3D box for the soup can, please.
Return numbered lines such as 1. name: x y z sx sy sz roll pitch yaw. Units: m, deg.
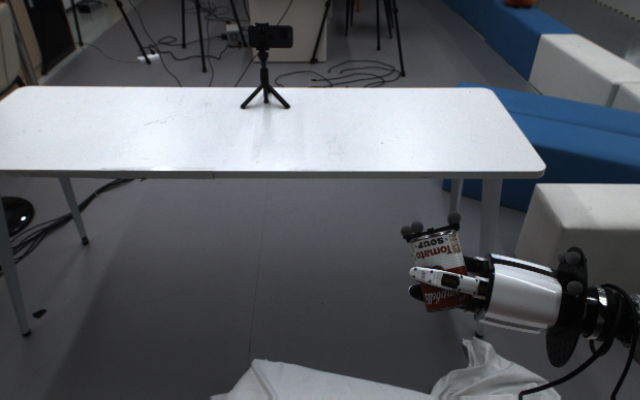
1. soup can: 0.173 0.097 0.674 0.067 0.067 0.101 -11 80 -19
